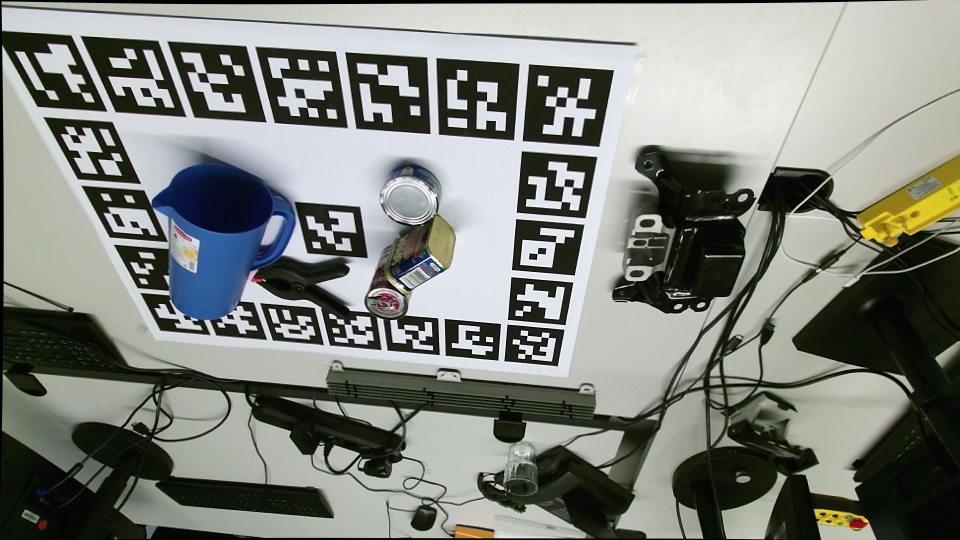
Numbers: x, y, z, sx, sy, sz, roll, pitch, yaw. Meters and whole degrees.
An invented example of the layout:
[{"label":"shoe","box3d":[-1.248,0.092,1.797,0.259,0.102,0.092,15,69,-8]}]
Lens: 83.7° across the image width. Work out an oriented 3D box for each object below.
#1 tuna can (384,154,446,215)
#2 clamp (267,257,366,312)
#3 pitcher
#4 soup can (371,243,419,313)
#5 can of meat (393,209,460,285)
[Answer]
[{"label":"tuna can","box3d":[-0.094,-0.124,0.779,0.086,0.033,0.086,3,127,4]},{"label":"clamp","box3d":[-0.284,0.017,0.926,0.166,0.036,0.122,8,133,4]},{"label":"pitcher","box3d":[-0.398,-0.039,0.815,0.190,0.132,0.243,6,140,-27]},{"label":"soup can","box3d":[-0.129,0.009,0.850,0.068,0.101,0.068,1,127,2]},{"label":"can of meat","box3d":[-0.081,-0.038,0.801,0.084,0.101,0.058,-28,120,21]}]
